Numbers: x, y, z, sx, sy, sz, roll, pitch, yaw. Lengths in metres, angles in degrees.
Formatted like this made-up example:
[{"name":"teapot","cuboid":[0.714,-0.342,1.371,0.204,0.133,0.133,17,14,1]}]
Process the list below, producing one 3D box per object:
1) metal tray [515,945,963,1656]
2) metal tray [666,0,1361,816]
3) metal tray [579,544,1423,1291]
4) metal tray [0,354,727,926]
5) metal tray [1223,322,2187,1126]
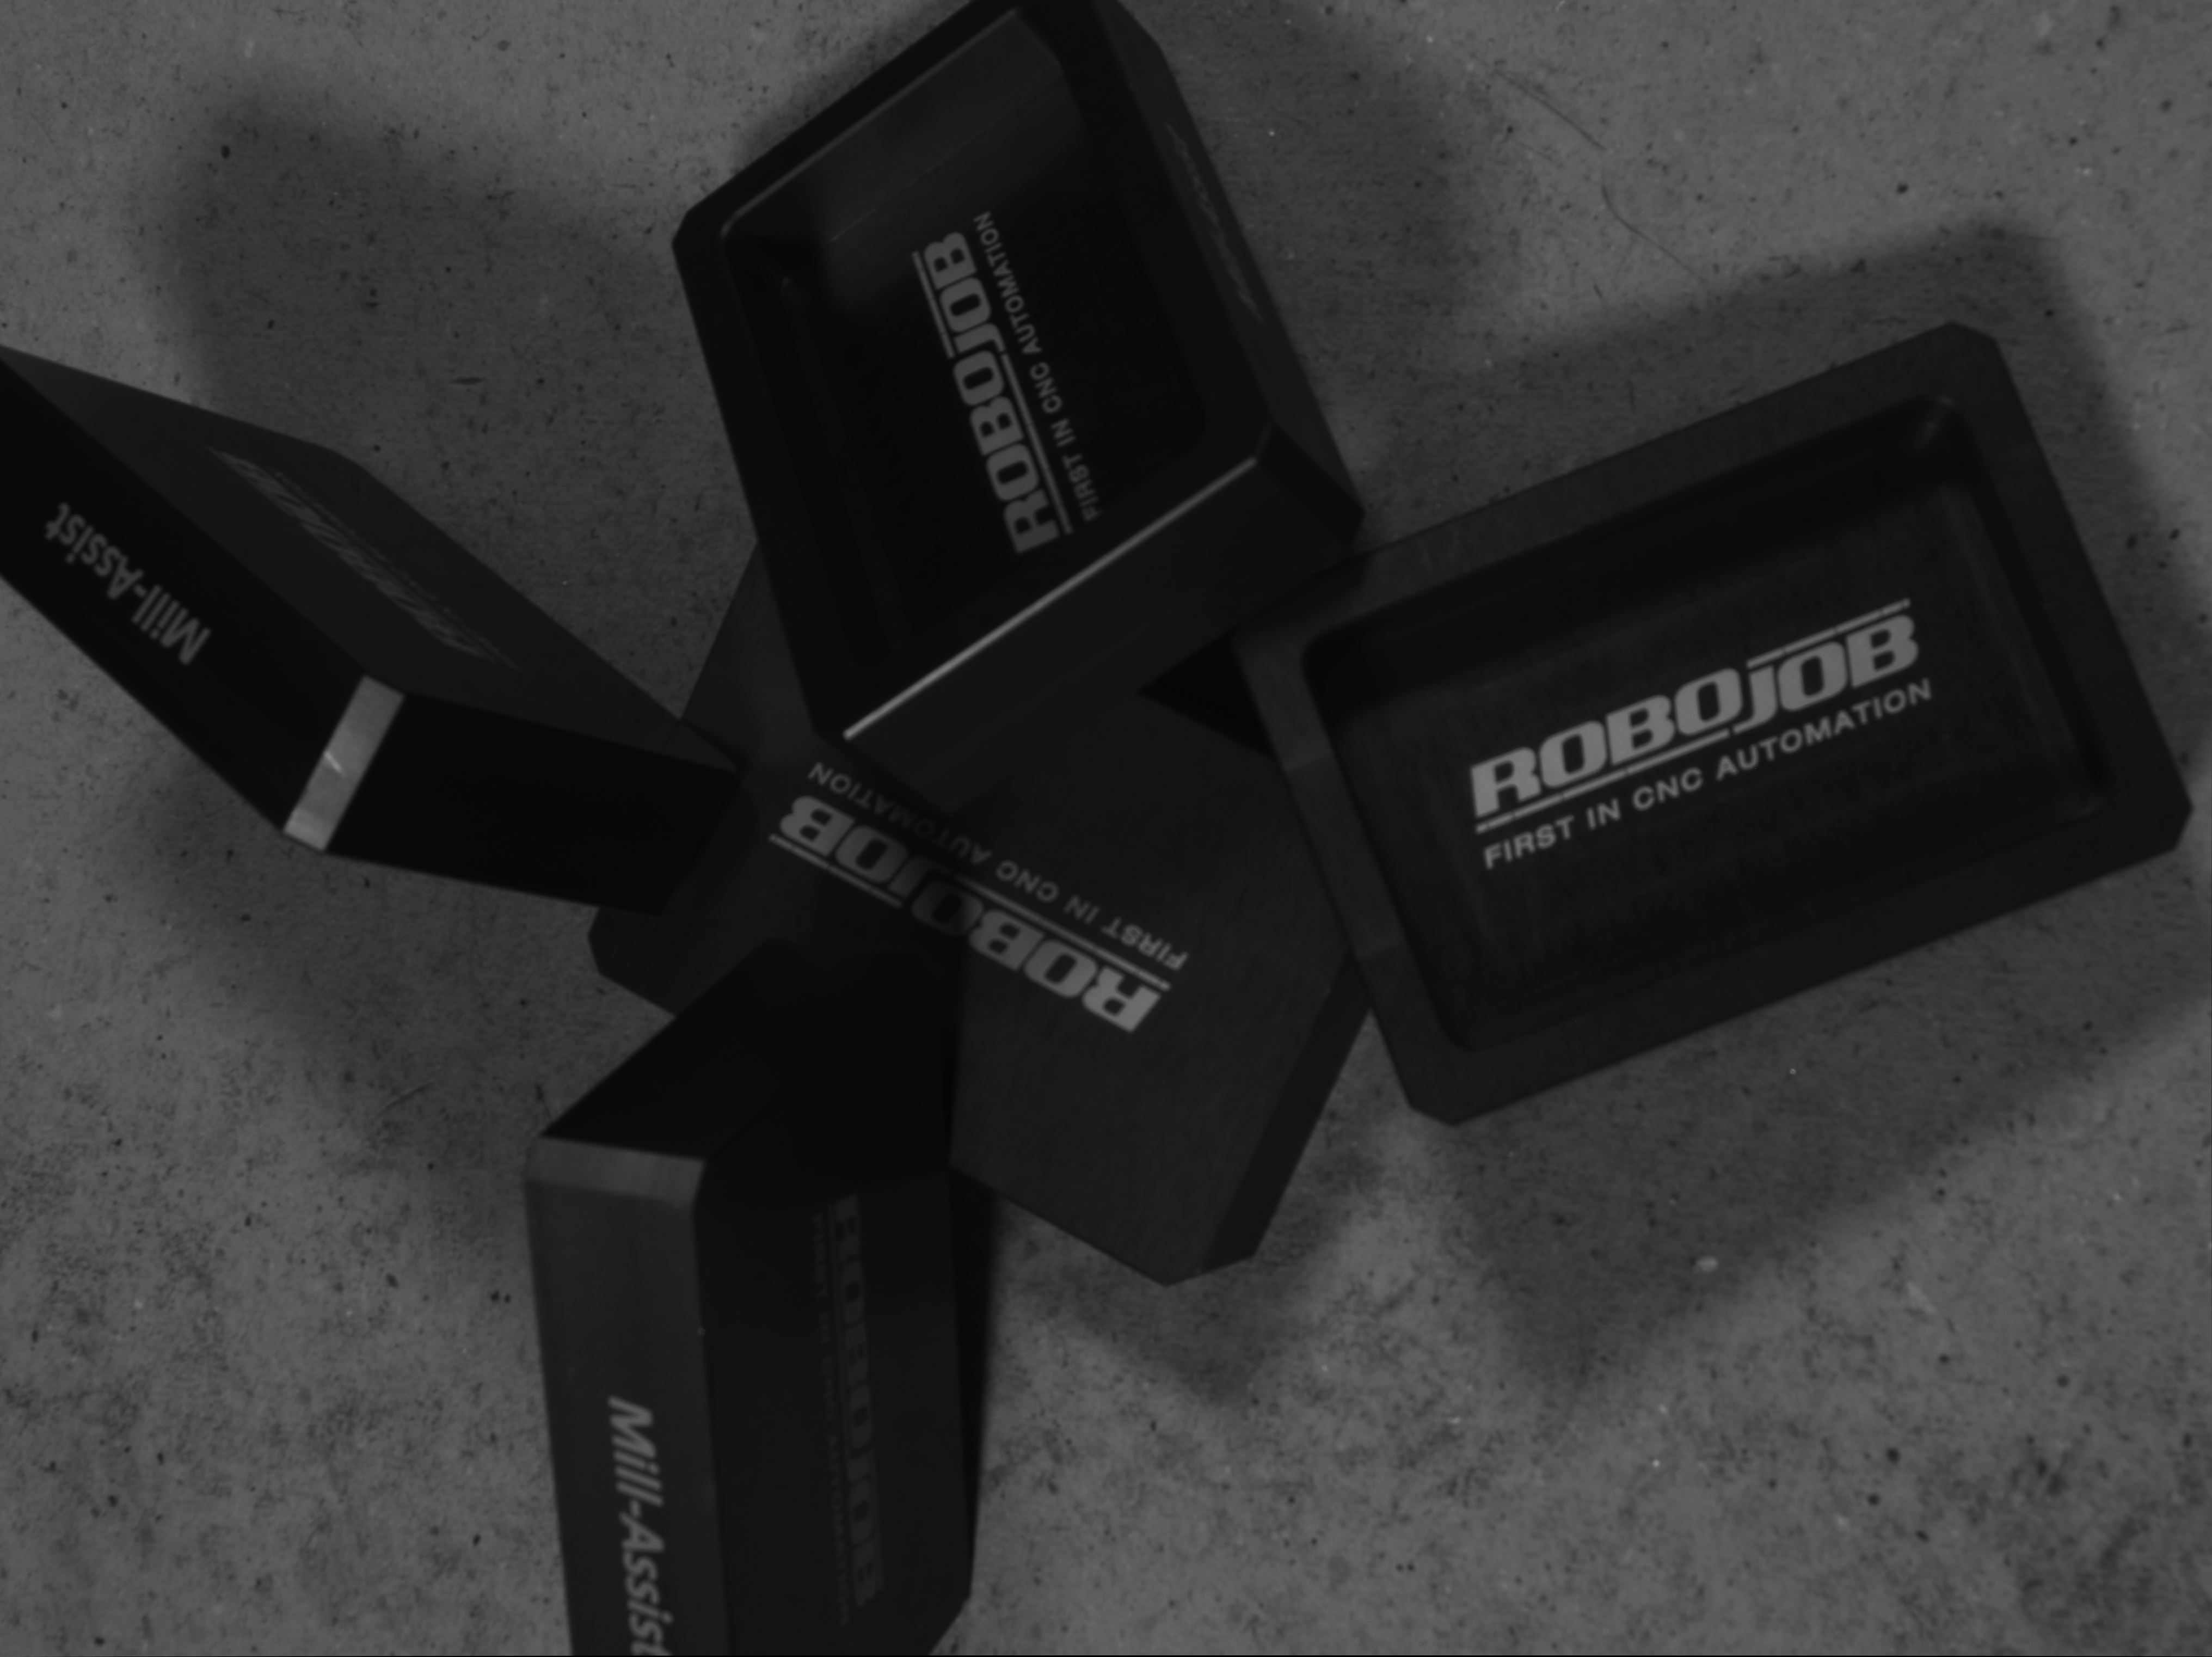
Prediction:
[{"name":"metal tray","cuboid":[-0.058,0.096,0.610,0.030,0.090,0.130,6,112,20]},{"name":"metal tray","cuboid":[-0.019,-0.077,0.618,0.090,0.030,0.130,-33,50,16]},{"name":"metal tray","cuboid":[-0.019,0.012,0.648,0.130,0.030,0.090,27,99,18]},{"name":"metal tray","cuboid":[-0.139,-0.034,0.643,0.130,0.090,0.030,37,102,33]},{"name":"metal tray","cuboid":[0.095,-0.015,0.591,0.130,0.030,0.090,-21,82,3]}]
